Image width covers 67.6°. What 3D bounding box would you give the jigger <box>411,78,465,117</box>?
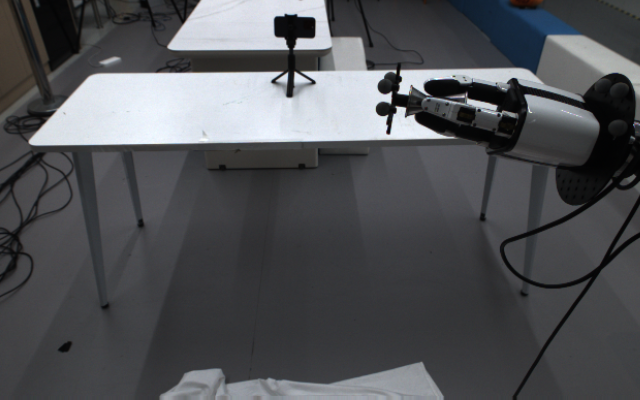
[{"bbox_3d":[0.149,-0.122,0.597,0.071,0.043,0.043,9,35,9],"label":"jigger"}]
